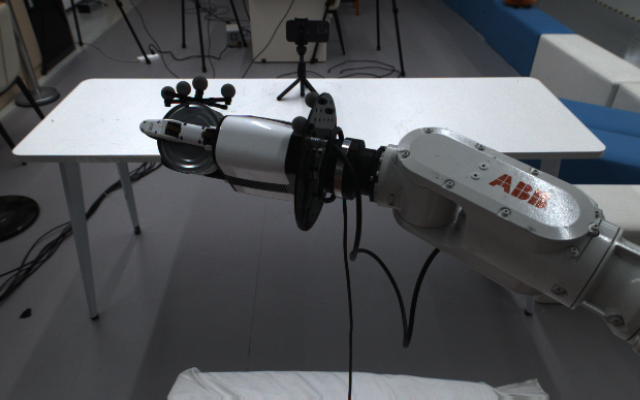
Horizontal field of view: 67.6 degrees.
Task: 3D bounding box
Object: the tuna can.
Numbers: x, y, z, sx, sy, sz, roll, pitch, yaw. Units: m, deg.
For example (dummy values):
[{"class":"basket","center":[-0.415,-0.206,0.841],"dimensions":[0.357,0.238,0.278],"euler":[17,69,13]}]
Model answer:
[{"class":"tuna can","center":[-0.151,-0.074,0.591],"dimensions":[0.085,0.085,0.034],"euler":[11,-1,13]}]
